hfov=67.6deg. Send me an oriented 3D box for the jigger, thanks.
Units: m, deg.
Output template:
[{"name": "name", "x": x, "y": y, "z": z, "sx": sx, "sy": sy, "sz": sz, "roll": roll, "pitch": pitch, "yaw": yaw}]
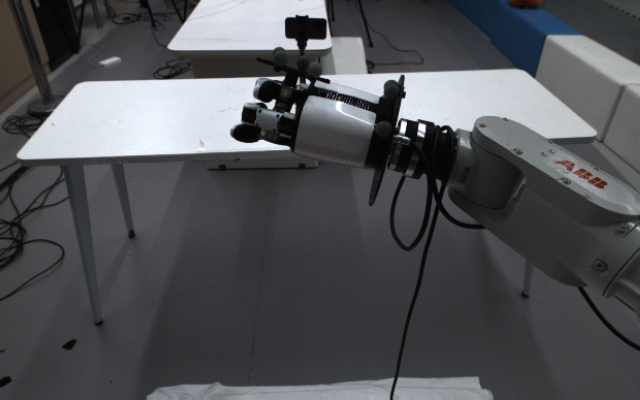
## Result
[{"name": "jigger", "x": -0.049, "y": -0.106, "z": 0.582, "sx": 0.043, "sy": 0.071, "sz": 0.043, "roll": 18, "pitch": 17, "yaw": -6}]
